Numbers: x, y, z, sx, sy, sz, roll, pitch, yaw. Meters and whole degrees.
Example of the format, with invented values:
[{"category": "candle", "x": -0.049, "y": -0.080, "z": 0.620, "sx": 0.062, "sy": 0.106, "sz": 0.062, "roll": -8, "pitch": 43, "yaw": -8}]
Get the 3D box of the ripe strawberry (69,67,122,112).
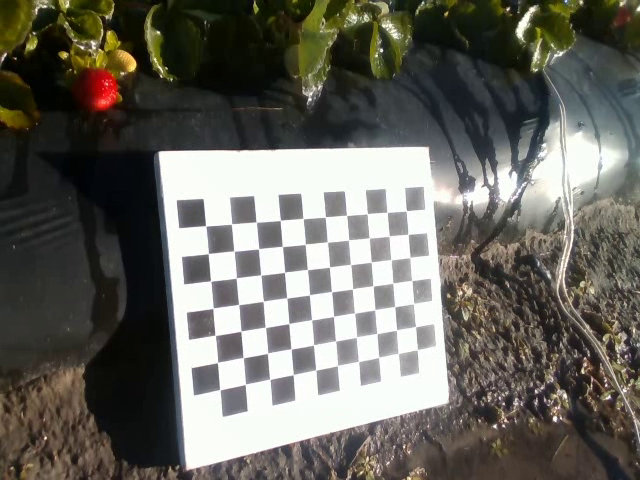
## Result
[{"category": "ripe strawberry", "x": -0.143, "y": -0.093, "z": 0.414, "sx": 0.039, "sy": 0.040, "sz": 0.039, "roll": -15, "pitch": 30, "yaw": -18}]
